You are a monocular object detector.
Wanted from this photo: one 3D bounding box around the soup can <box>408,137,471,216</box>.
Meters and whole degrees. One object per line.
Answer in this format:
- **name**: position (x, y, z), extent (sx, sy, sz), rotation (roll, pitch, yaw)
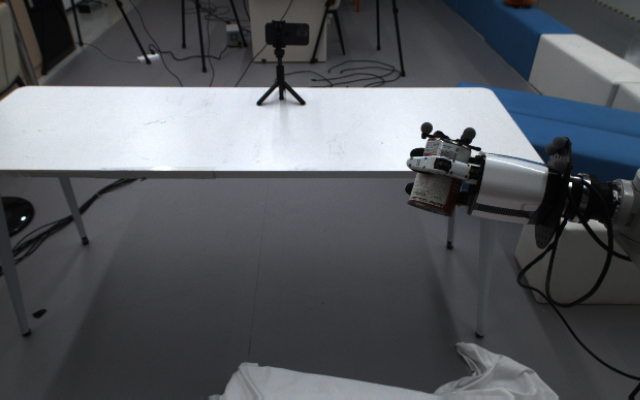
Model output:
- **soup can**: position (0.176, -0.035, 0.713), extent (0.067, 0.101, 0.067), rotation (18, -2, 1)
